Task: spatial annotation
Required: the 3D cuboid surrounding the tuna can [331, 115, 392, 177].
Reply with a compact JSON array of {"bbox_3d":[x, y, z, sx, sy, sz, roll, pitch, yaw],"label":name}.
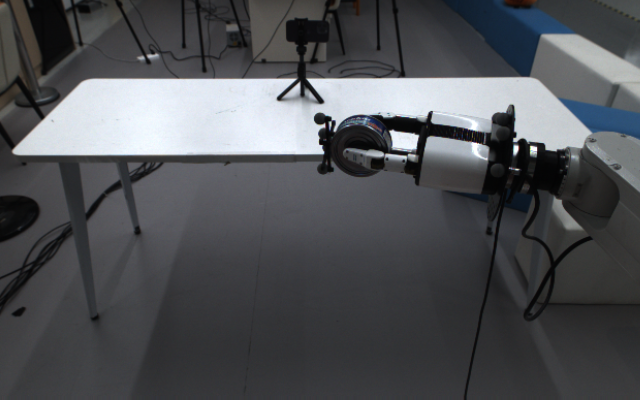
[{"bbox_3d":[0.061,-0.075,0.690,0.085,0.085,0.034,9,32,10],"label":"tuna can"}]
